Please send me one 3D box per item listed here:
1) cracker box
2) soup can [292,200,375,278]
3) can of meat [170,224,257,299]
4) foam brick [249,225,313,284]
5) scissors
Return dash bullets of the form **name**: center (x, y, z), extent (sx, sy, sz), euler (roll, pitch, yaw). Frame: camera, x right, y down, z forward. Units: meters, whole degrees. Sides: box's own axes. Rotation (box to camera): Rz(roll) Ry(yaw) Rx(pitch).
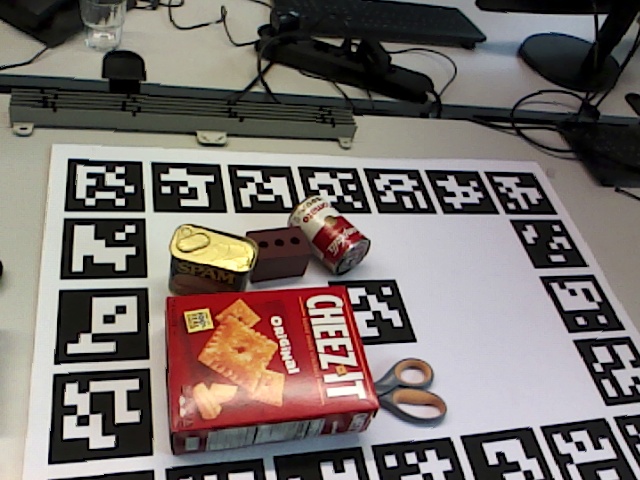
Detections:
- **cracker box**: center (-0.058, 0.139, 0.701), extent (0.213, 0.072, 0.165), euler (-7, 53, -17)
- **soup can**: center (0.017, -0.003, 0.875), extent (0.102, 0.068, 0.067), euler (37, 50, 21)
- **can of meat**: center (-0.136, 0.033, 0.775), extent (0.101, 0.084, 0.058), euler (11, 50, -9)
- **foam brick**: center (-0.056, 0.019, 0.836), extent (0.078, 0.051, 0.053), euler (-9, 55, -24)
- **scissors**: center (0.051, 0.186, 0.737), extent (0.202, 0.016, 0.088), euler (-4, 53, -20)
